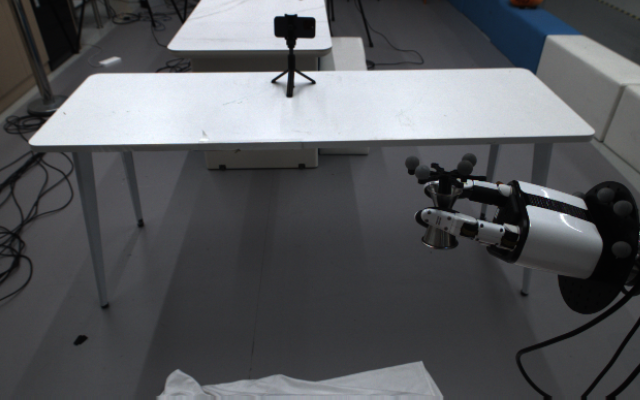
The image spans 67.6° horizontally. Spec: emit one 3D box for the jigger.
[{"bbox_3d":[0.144,0.019,0.576,0.043,0.071,0.043,0,21,0],"label":"jigger"}]
